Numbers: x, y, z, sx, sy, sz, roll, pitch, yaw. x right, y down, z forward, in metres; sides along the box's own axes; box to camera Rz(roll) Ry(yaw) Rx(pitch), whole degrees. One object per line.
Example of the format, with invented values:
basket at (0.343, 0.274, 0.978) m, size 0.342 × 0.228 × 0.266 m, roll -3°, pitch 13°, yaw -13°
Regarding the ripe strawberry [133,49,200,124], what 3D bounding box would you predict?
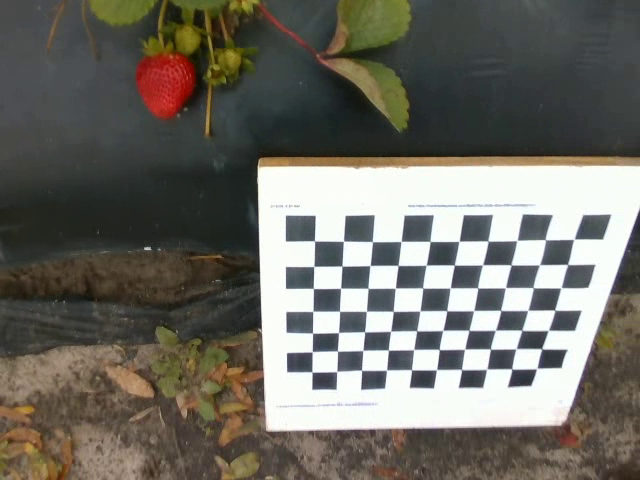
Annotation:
ripe strawberry at (-0.032, -0.031, 0.122) m, size 0.018 × 0.017 × 0.014 m, roll -1°, pitch -13°, yaw -14°
